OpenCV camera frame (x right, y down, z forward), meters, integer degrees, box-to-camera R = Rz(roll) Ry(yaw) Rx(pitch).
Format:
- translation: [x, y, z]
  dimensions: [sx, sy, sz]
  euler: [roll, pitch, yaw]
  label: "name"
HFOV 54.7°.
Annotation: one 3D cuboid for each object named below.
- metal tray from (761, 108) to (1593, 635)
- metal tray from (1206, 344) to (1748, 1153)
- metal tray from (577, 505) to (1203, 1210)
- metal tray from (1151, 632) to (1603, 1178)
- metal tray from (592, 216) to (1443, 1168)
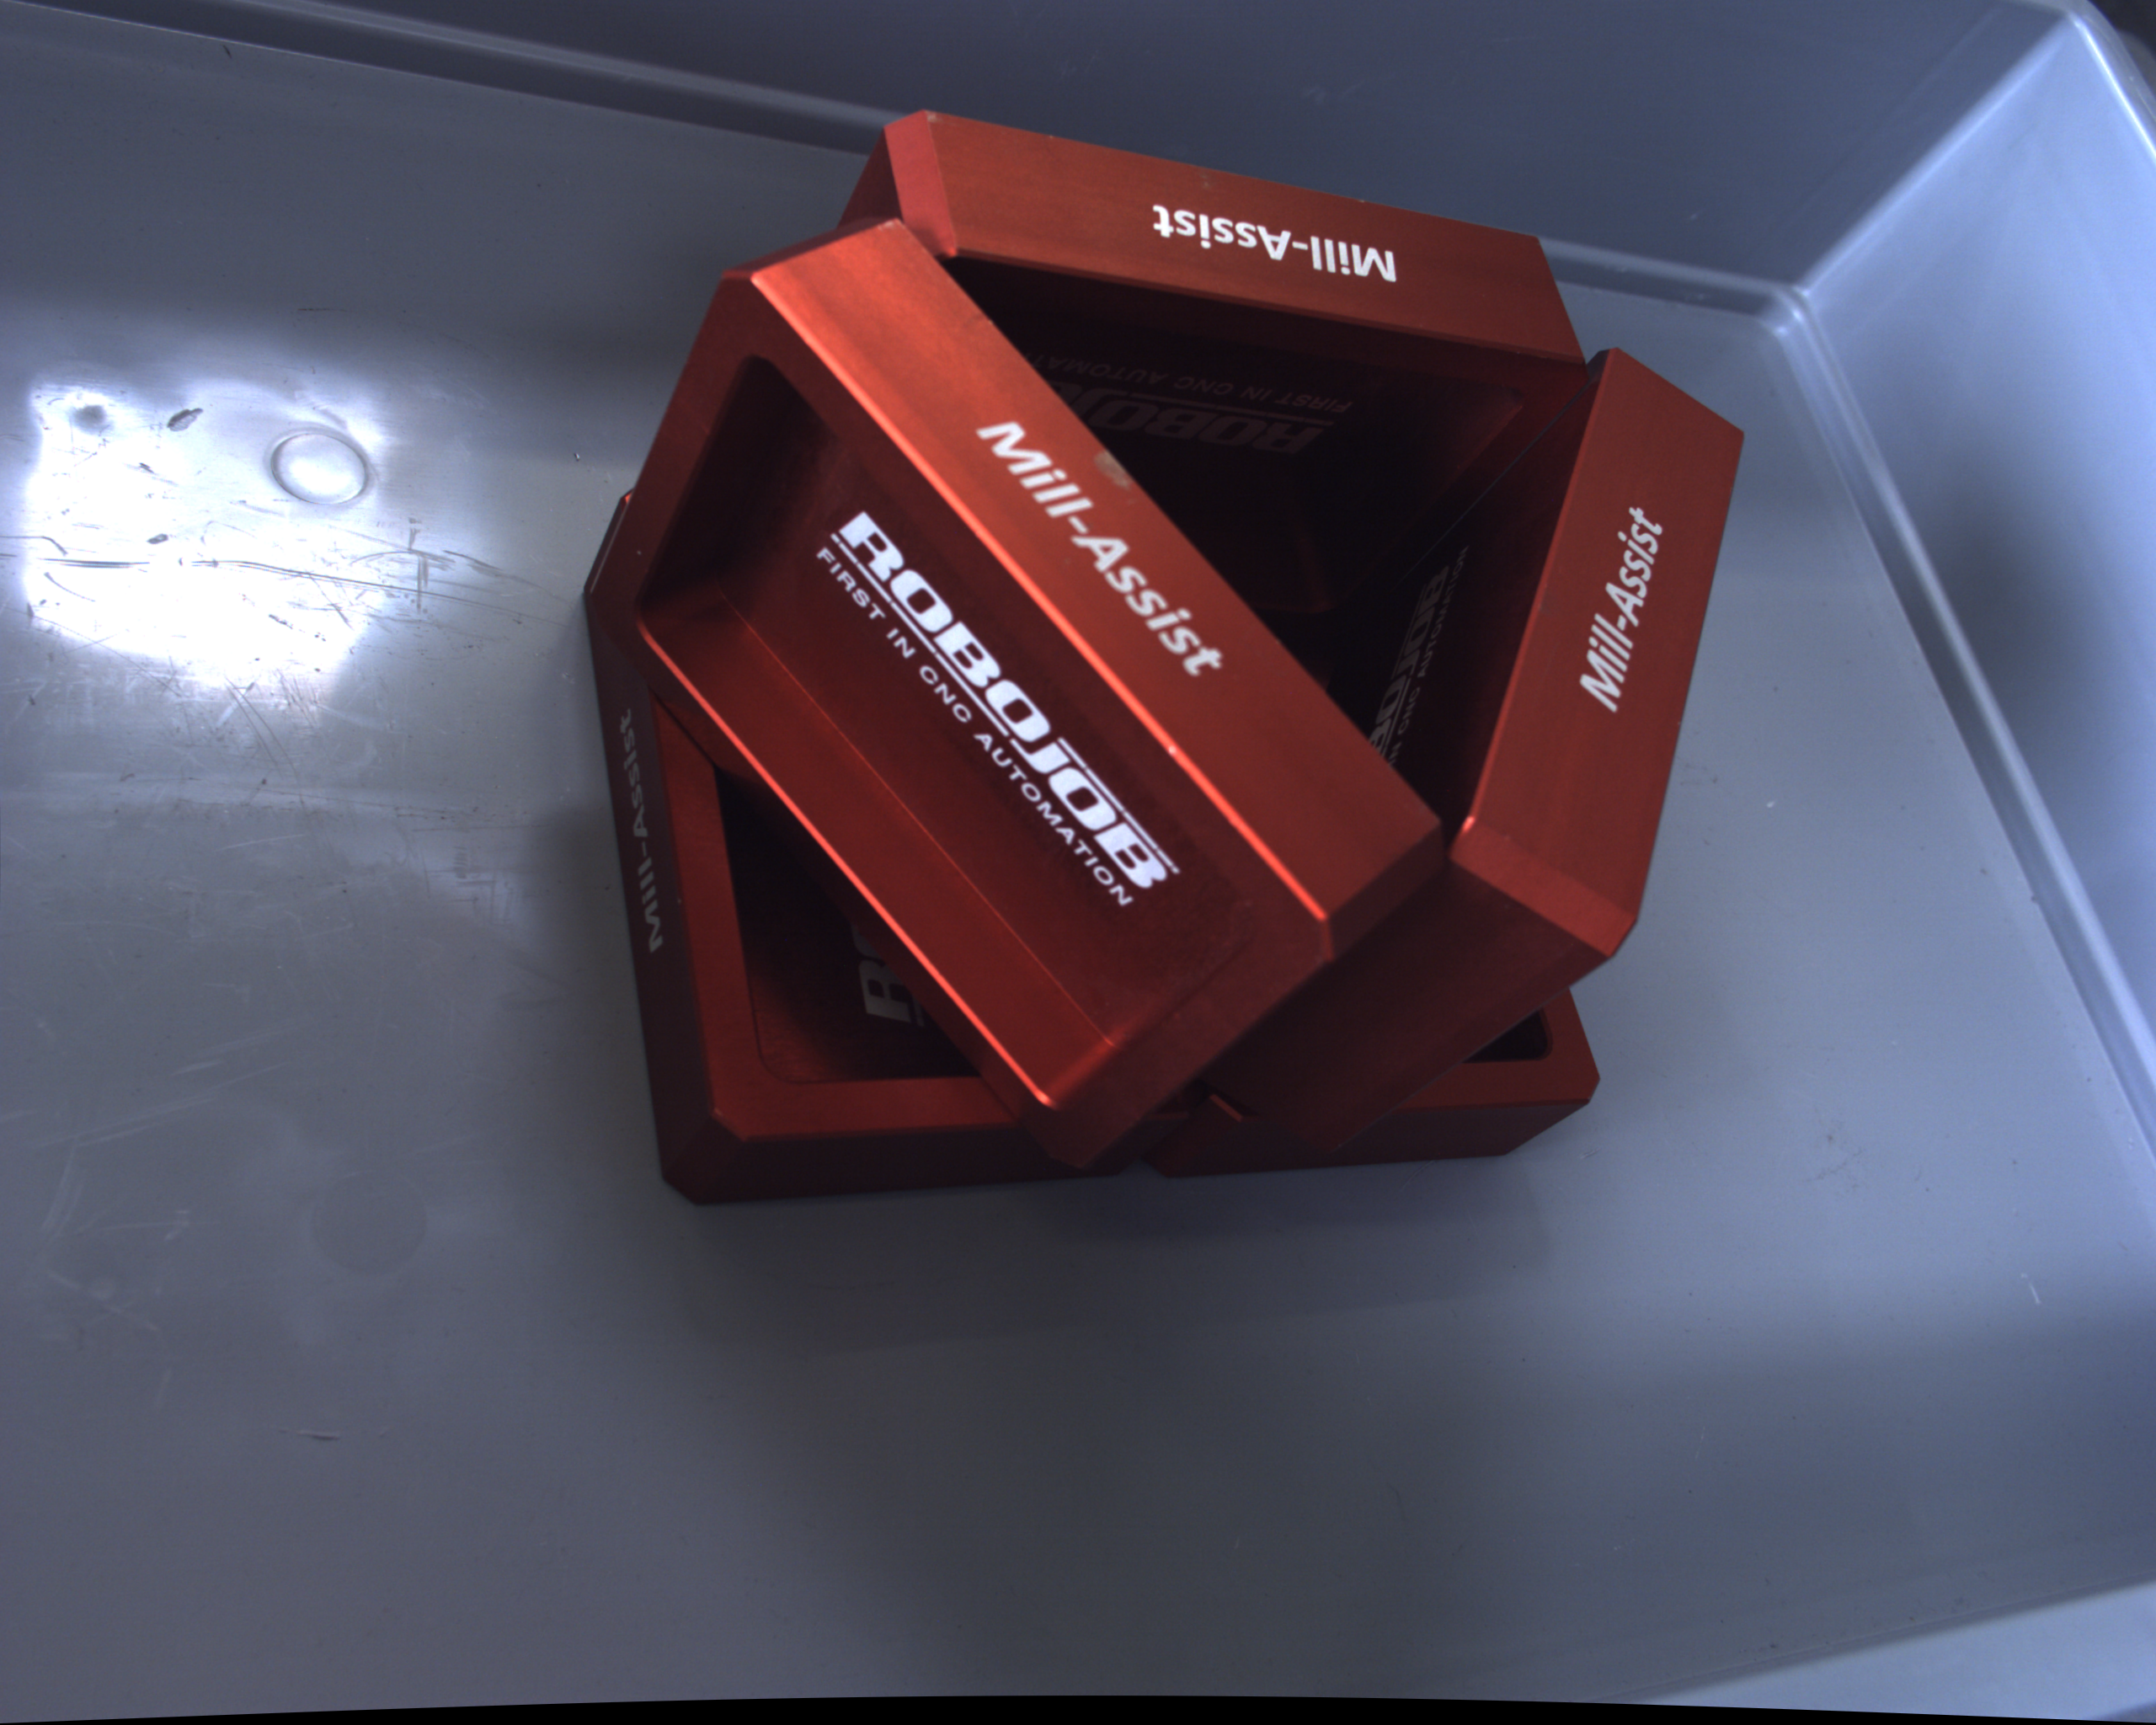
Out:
- translation: [0.015, -0.082, 0.380]
  dimensions: [0.131, 0.090, 0.030]
  euler: [2, 62, -27]
  label: "metal tray"
- translation: [0.070, -0.021, 0.373]
  dimensions: [0.030, 0.090, 0.130]
  euler: [31, 52, -8]
  label: "metal tray"
- translation: [-0.037, -0.005, 0.385]
  dimensions: [0.091, 0.030, 0.130]
  euler: [0, 61, -28]
  label: "metal tray"
- translation: [0.045, -0.004, 0.427]
  dimensions: [0.091, 0.030, 0.130]
  euler: [1, 60, -27]
  label: "metal tray"
- translation: [-0.016, -0.023, 0.329]
  dimensions: [0.130, 0.090, 0.030]
  euler: [49, 52, 6]
  label: "metal tray"
